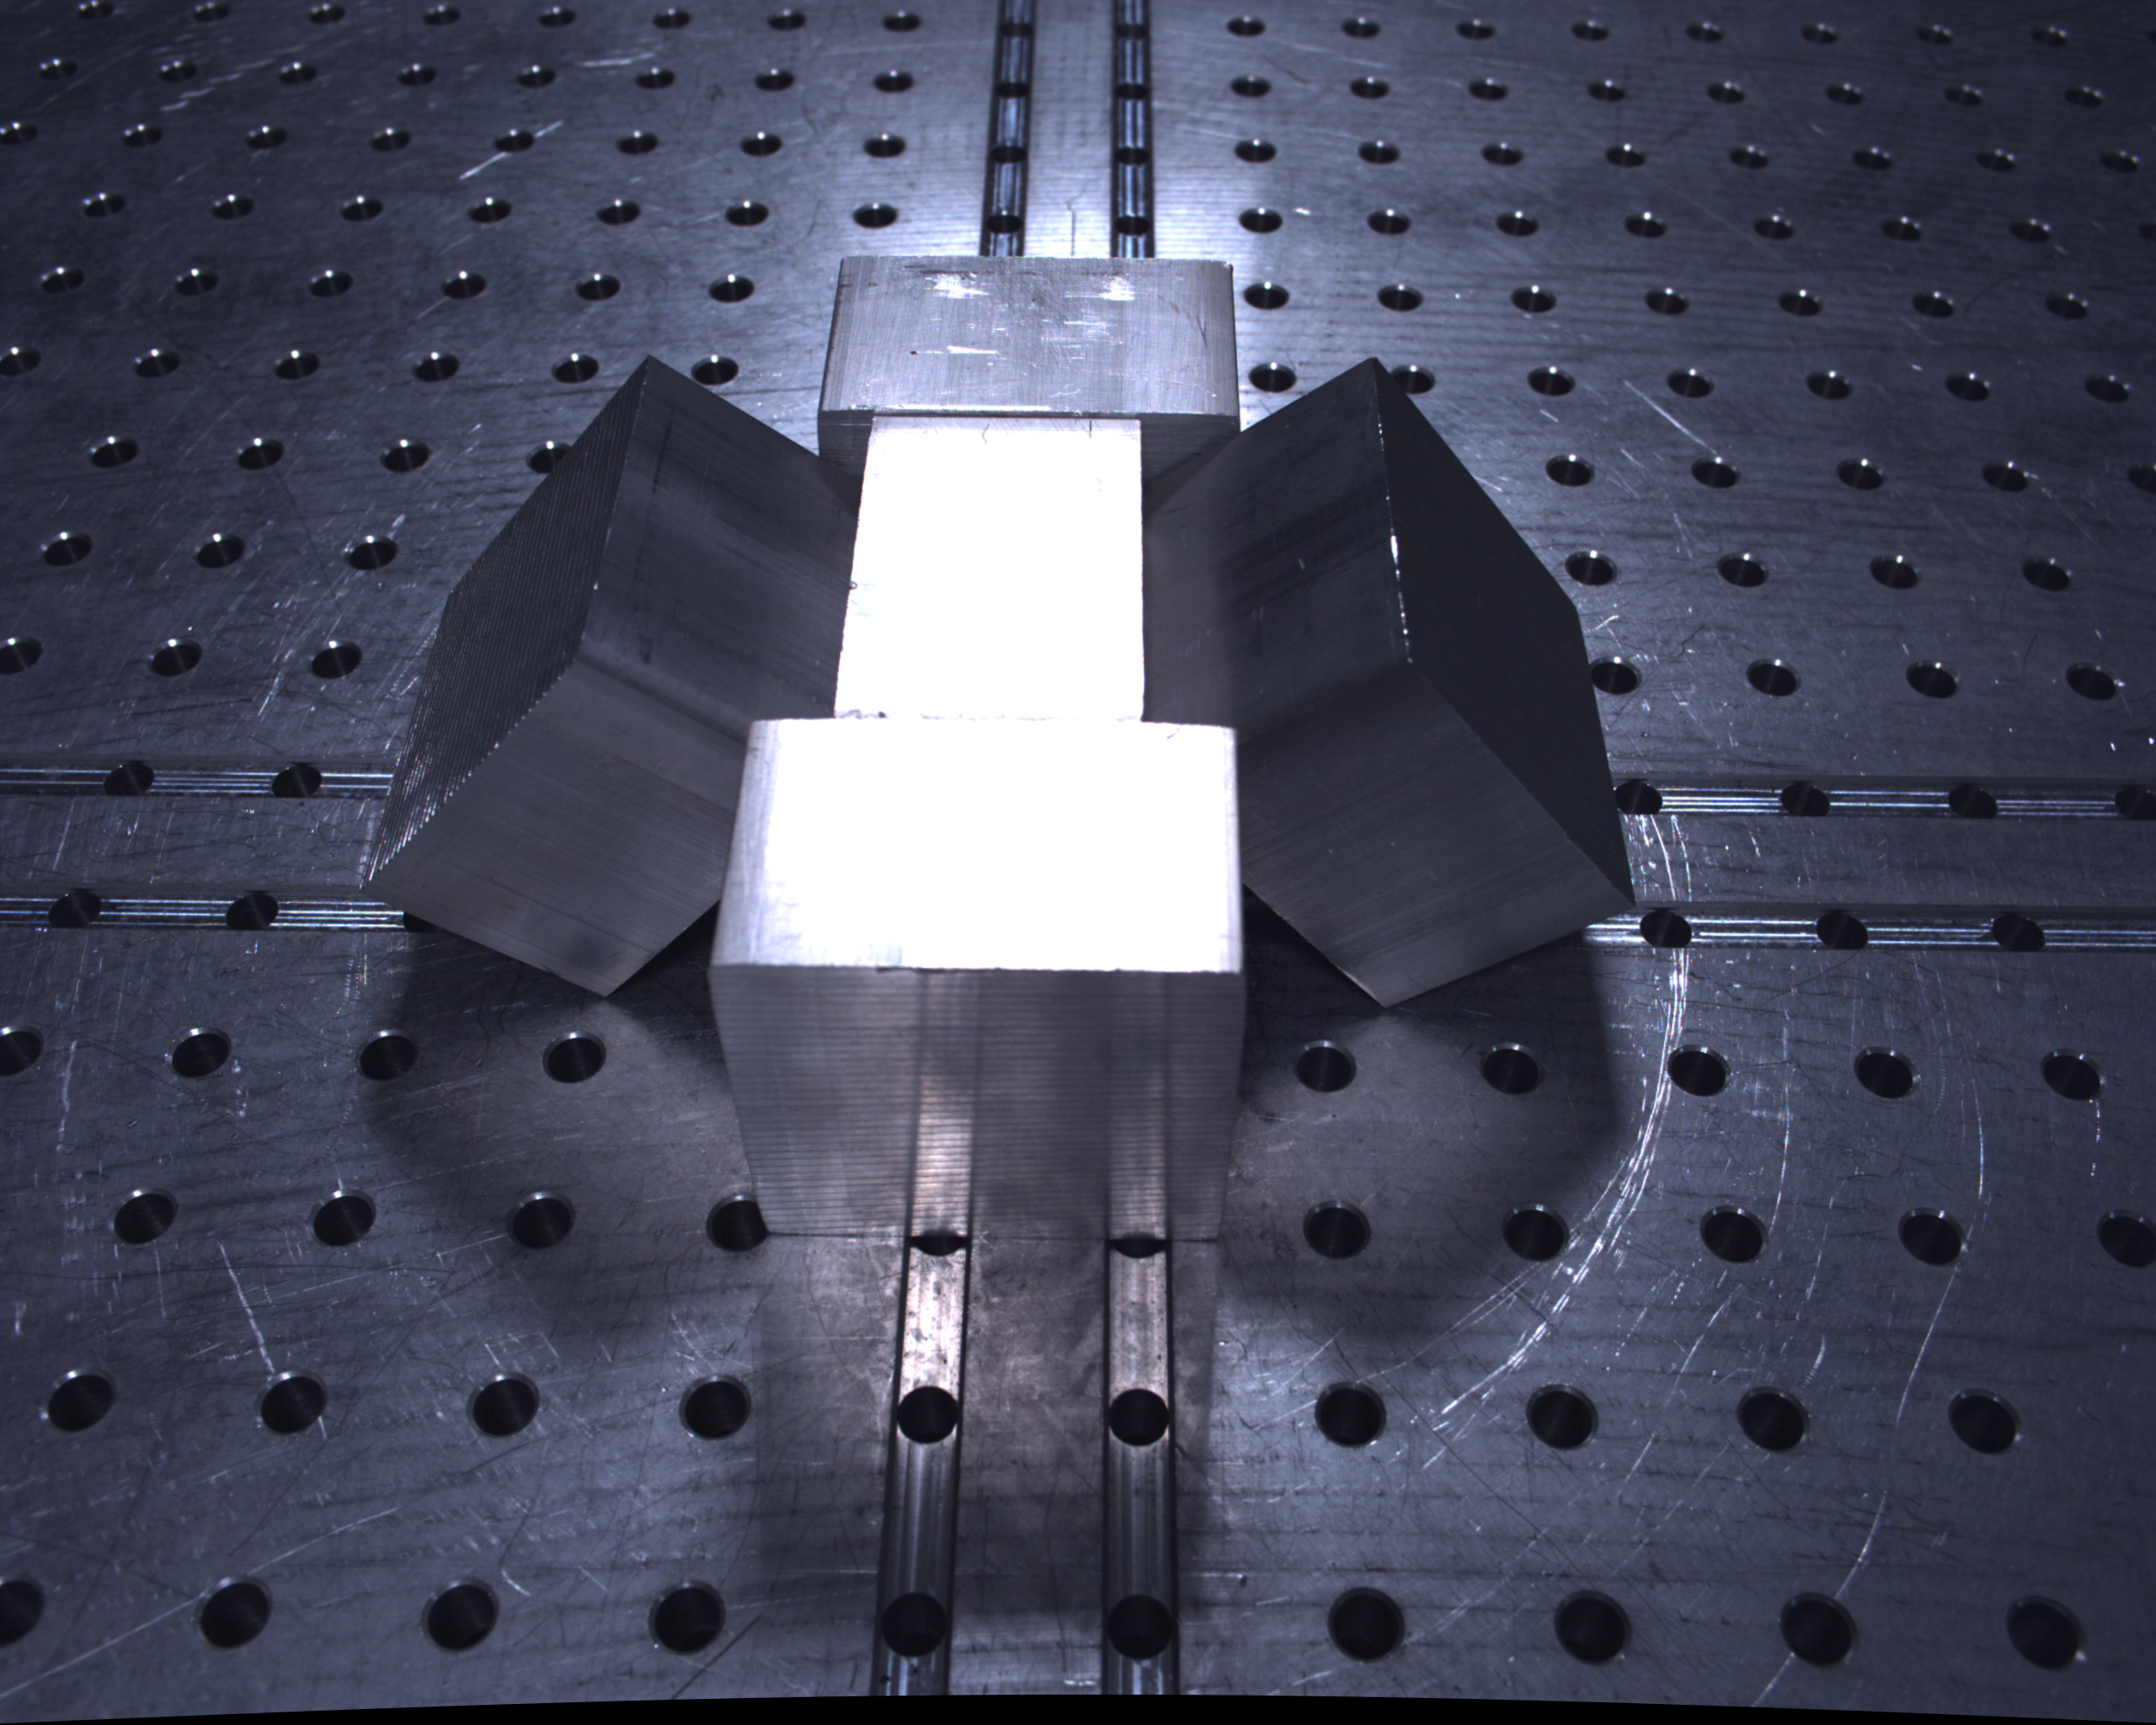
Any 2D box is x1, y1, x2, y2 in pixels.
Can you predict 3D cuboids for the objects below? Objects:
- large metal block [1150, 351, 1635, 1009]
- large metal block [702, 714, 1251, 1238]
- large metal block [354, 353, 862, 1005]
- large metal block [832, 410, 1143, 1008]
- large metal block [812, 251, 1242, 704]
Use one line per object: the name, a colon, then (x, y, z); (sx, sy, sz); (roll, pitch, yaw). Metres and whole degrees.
large metal block: (0.057, -0.033, 0.389); (0.050, 0.080, 0.080); (-26, 43, 28)
large metal block: (-0.015, 0.021, 0.353); (0.081, 0.080, 0.050); (1, 50, 0)
large metal block: (-0.085, -0.033, 0.390); (0.050, 0.080, 0.080); (28, 43, -29)
large metal block: (-0.014, -0.028, 0.394); (0.050, 0.080, 0.080); (1, 50, 0)
large metal block: (-0.009, -0.079, 0.436); (0.081, 0.080, 0.050); (1, 50, 0)
